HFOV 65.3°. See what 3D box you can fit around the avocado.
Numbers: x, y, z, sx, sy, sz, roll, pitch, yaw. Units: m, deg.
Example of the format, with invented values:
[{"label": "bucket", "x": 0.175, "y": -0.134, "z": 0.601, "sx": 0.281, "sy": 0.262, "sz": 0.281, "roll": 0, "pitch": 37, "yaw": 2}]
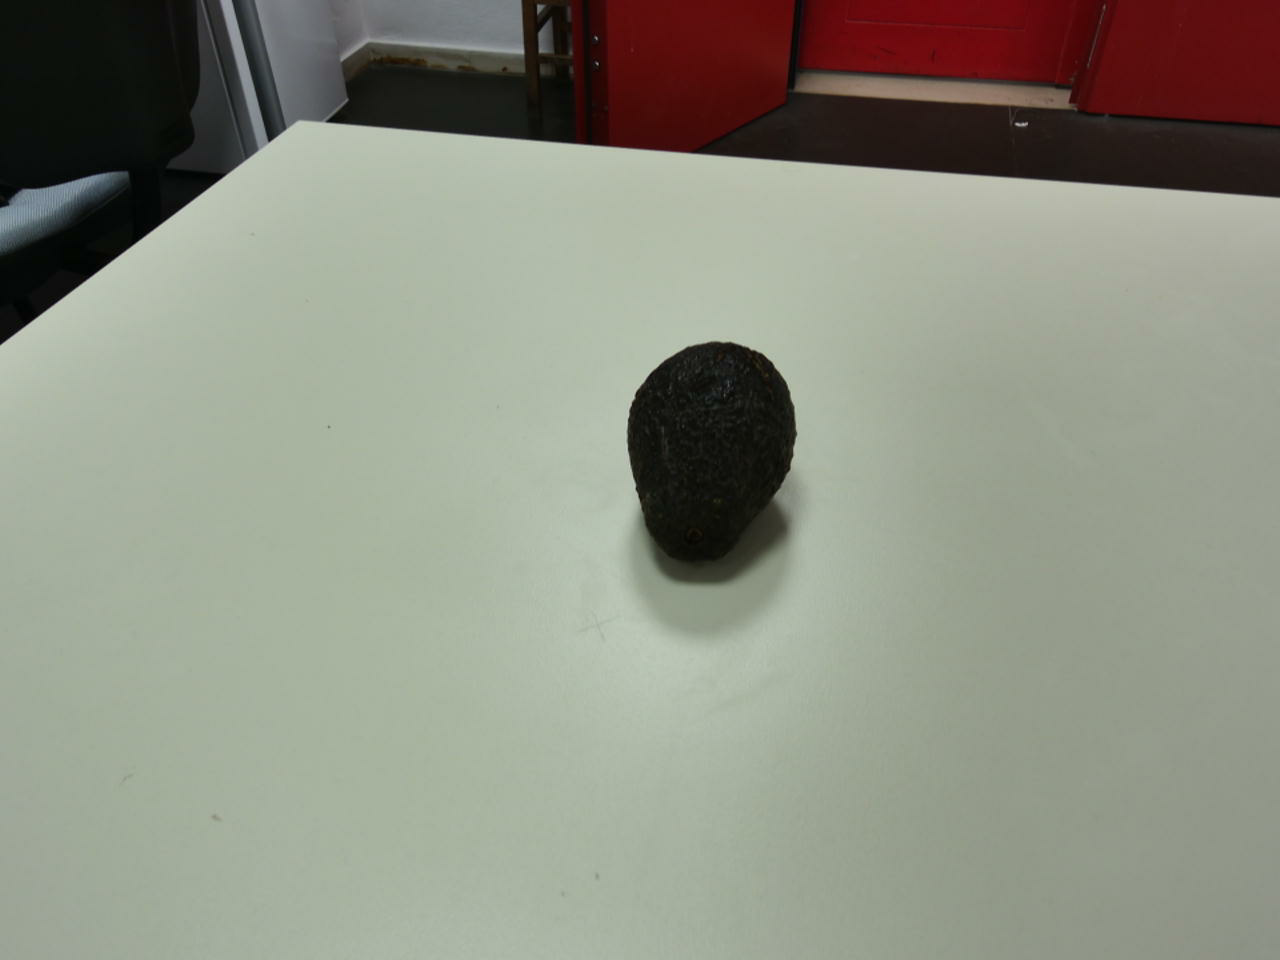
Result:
[{"label": "avocado", "x": 0.026, "y": -0.017, "z": 0.410, "sx": 0.070, "sy": 0.069, "sz": 0.090, "roll": 26, "pitch": 45, "yaw": 30}]
